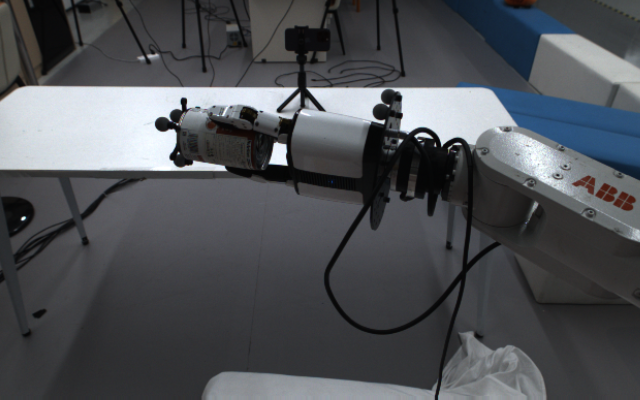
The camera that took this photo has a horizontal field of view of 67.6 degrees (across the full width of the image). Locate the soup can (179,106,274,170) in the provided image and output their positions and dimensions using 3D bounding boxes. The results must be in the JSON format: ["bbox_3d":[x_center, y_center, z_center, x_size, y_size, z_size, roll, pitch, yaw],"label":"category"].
[{"bbox_3d":[-0.114,-0.075,0.600,0.101,0.067,0.067,9,35,10],"label":"soup can"}]
